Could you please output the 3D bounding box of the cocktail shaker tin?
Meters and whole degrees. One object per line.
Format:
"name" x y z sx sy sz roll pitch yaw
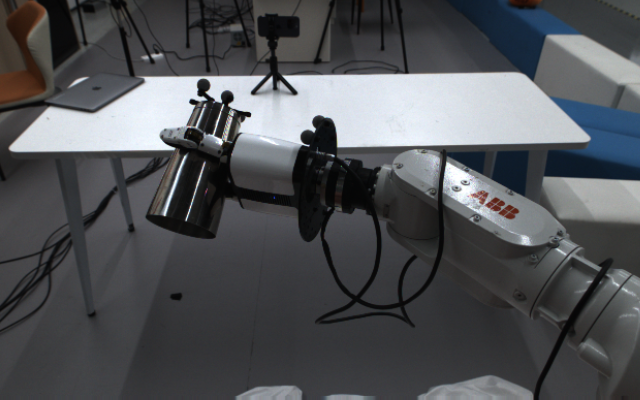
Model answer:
"cocktail shaker tin" -0.160 -0.042 0.646 0.093 0.093 0.170 10 71 11
